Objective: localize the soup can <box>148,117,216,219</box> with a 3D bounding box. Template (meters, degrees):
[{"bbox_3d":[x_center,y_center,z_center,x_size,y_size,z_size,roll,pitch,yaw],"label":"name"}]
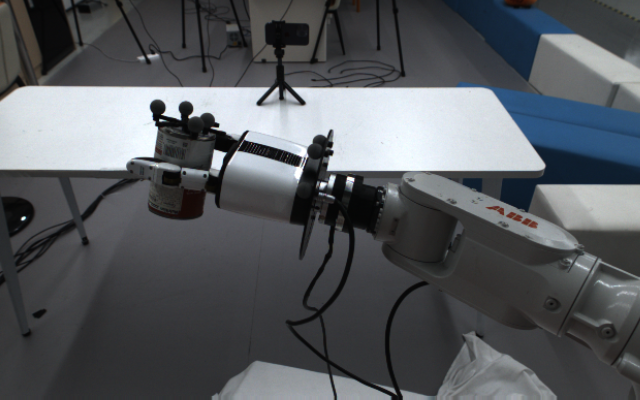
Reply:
[{"bbox_3d":[-0.164,-0.035,0.577,0.067,0.101,0.067,13,18,-4],"label":"soup can"}]
